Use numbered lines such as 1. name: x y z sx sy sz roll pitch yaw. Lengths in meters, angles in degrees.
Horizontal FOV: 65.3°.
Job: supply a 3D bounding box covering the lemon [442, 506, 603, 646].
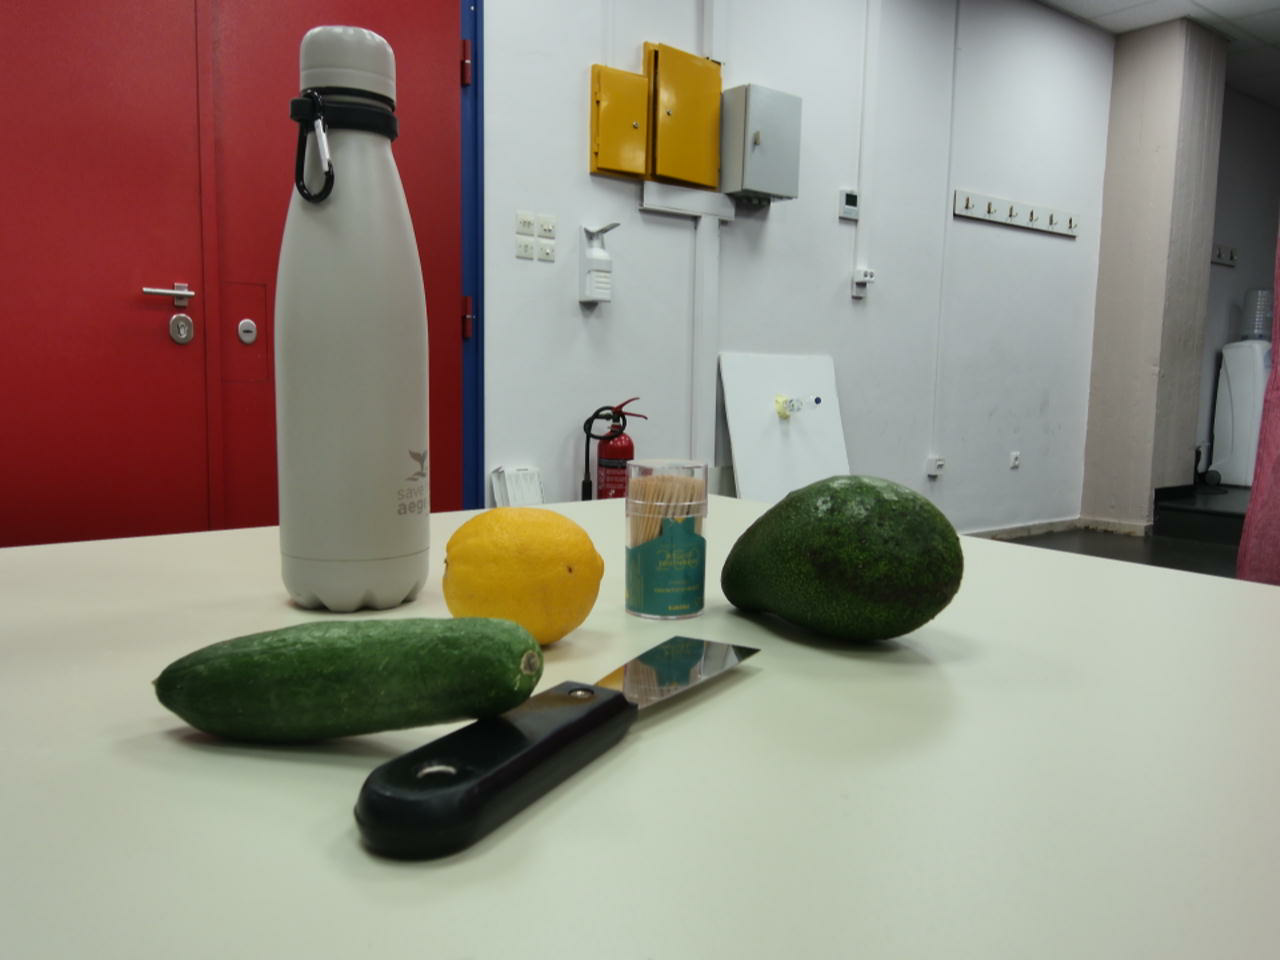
1. lemon: -0.051 0.041 0.428 0.067 0.059 0.061 0 4 4
